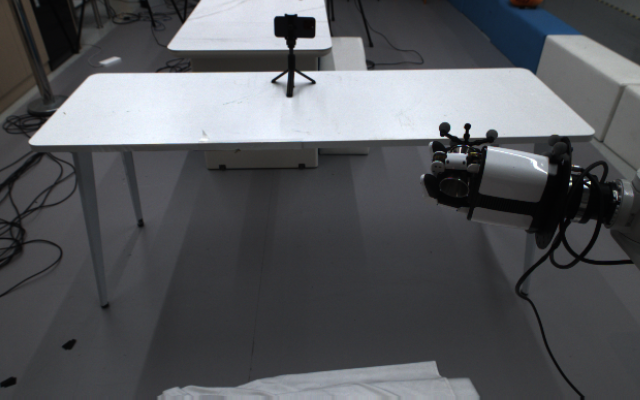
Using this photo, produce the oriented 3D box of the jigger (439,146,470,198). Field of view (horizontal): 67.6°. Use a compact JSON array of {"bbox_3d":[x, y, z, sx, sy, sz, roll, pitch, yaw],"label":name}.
[{"bbox_3d":[0.207,-0.044,0.713,0.043,0.043,0.071,13,58,16],"label":"jigger"}]
